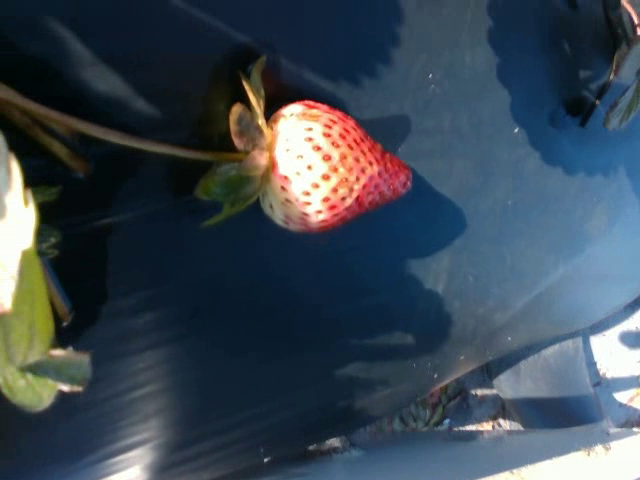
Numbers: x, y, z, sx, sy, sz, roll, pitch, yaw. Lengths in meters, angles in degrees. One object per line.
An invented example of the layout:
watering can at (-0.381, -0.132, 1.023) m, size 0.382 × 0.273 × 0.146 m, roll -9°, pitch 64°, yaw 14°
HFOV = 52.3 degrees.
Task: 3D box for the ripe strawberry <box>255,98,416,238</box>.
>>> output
ripe strawberry at (0.008, -0.019, 0.185) m, size 0.063 × 0.043 × 0.044 m, roll -2°, pitch -14°, yaw -28°
